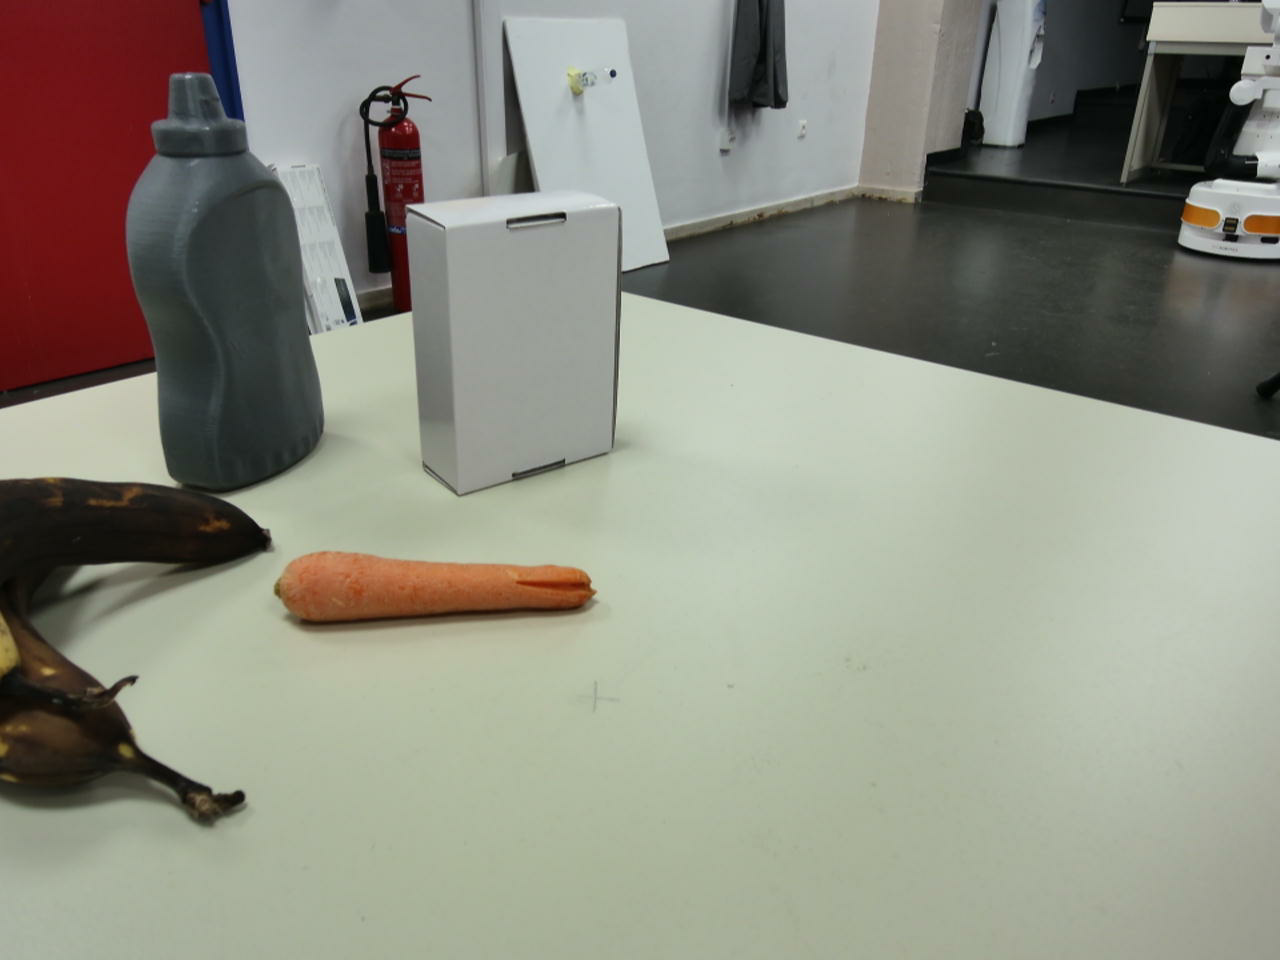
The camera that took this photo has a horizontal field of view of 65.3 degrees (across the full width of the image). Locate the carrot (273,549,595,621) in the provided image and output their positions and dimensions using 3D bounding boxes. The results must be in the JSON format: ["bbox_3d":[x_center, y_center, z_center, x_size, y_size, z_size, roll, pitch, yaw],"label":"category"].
[{"bbox_3d":[-0.088,0.044,0.432,0.136,0.032,0.030,-2,23,-5],"label":"carrot"}]
